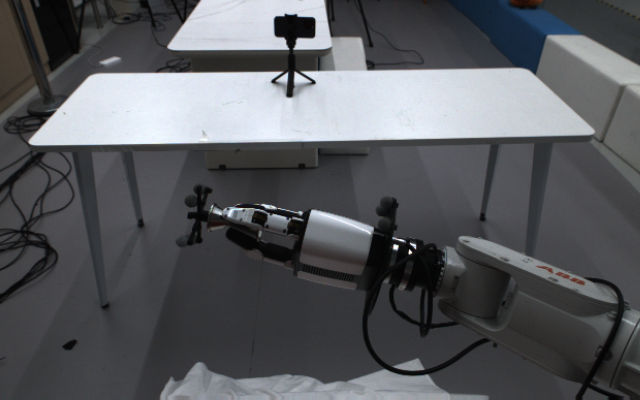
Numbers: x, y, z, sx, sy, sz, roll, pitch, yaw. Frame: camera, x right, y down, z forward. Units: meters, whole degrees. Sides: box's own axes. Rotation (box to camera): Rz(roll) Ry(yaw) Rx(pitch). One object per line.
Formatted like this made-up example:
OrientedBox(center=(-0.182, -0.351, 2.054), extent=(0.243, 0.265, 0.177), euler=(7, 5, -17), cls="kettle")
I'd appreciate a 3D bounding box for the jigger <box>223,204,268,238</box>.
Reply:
OrientedBox(center=(-0.103, 0.026, 0.641), extent=(0.071, 0.043, 0.043), euler=(10, 35, 1), cls="jigger")
